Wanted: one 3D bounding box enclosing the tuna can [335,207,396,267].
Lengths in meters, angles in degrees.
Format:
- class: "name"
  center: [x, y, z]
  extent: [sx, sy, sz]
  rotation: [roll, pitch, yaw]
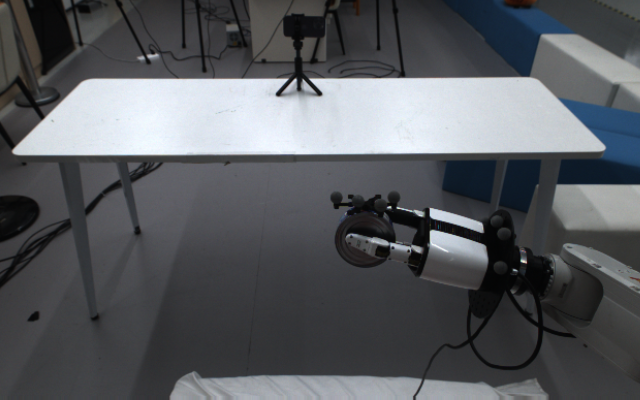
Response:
- class: "tuna can"
  center: [0.066, 0.052, 0.692]
  extent: [0.085, 0.085, 0.034]
  rotation: [4, 17, 3]
